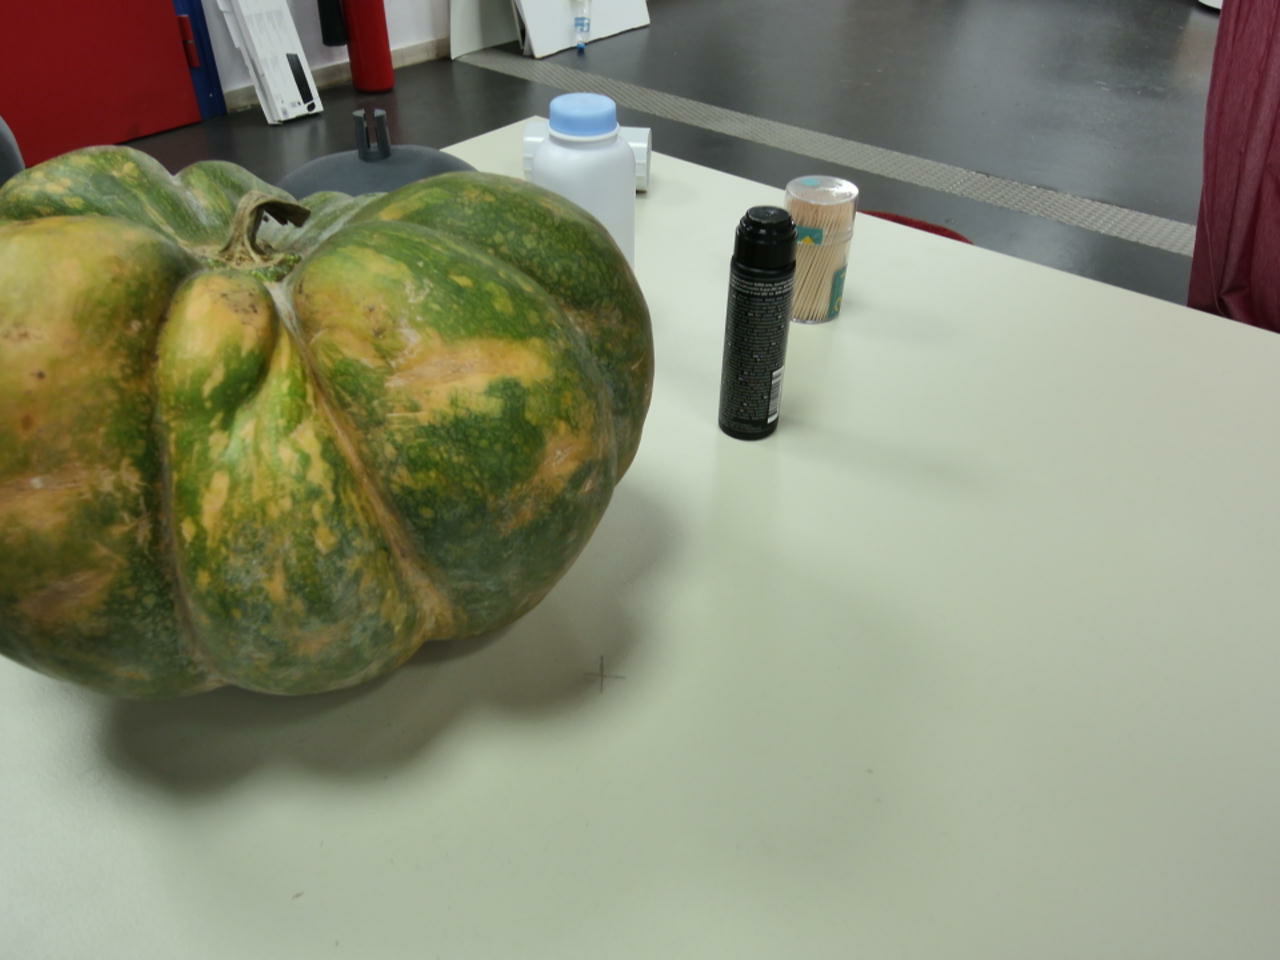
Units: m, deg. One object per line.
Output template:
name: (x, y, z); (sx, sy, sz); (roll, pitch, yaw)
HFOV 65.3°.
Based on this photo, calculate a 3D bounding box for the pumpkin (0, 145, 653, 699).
pumpkin: (-0.131, -0.033, 0.361); (0.270, 0.173, 0.237); (-9, 37, -12)
